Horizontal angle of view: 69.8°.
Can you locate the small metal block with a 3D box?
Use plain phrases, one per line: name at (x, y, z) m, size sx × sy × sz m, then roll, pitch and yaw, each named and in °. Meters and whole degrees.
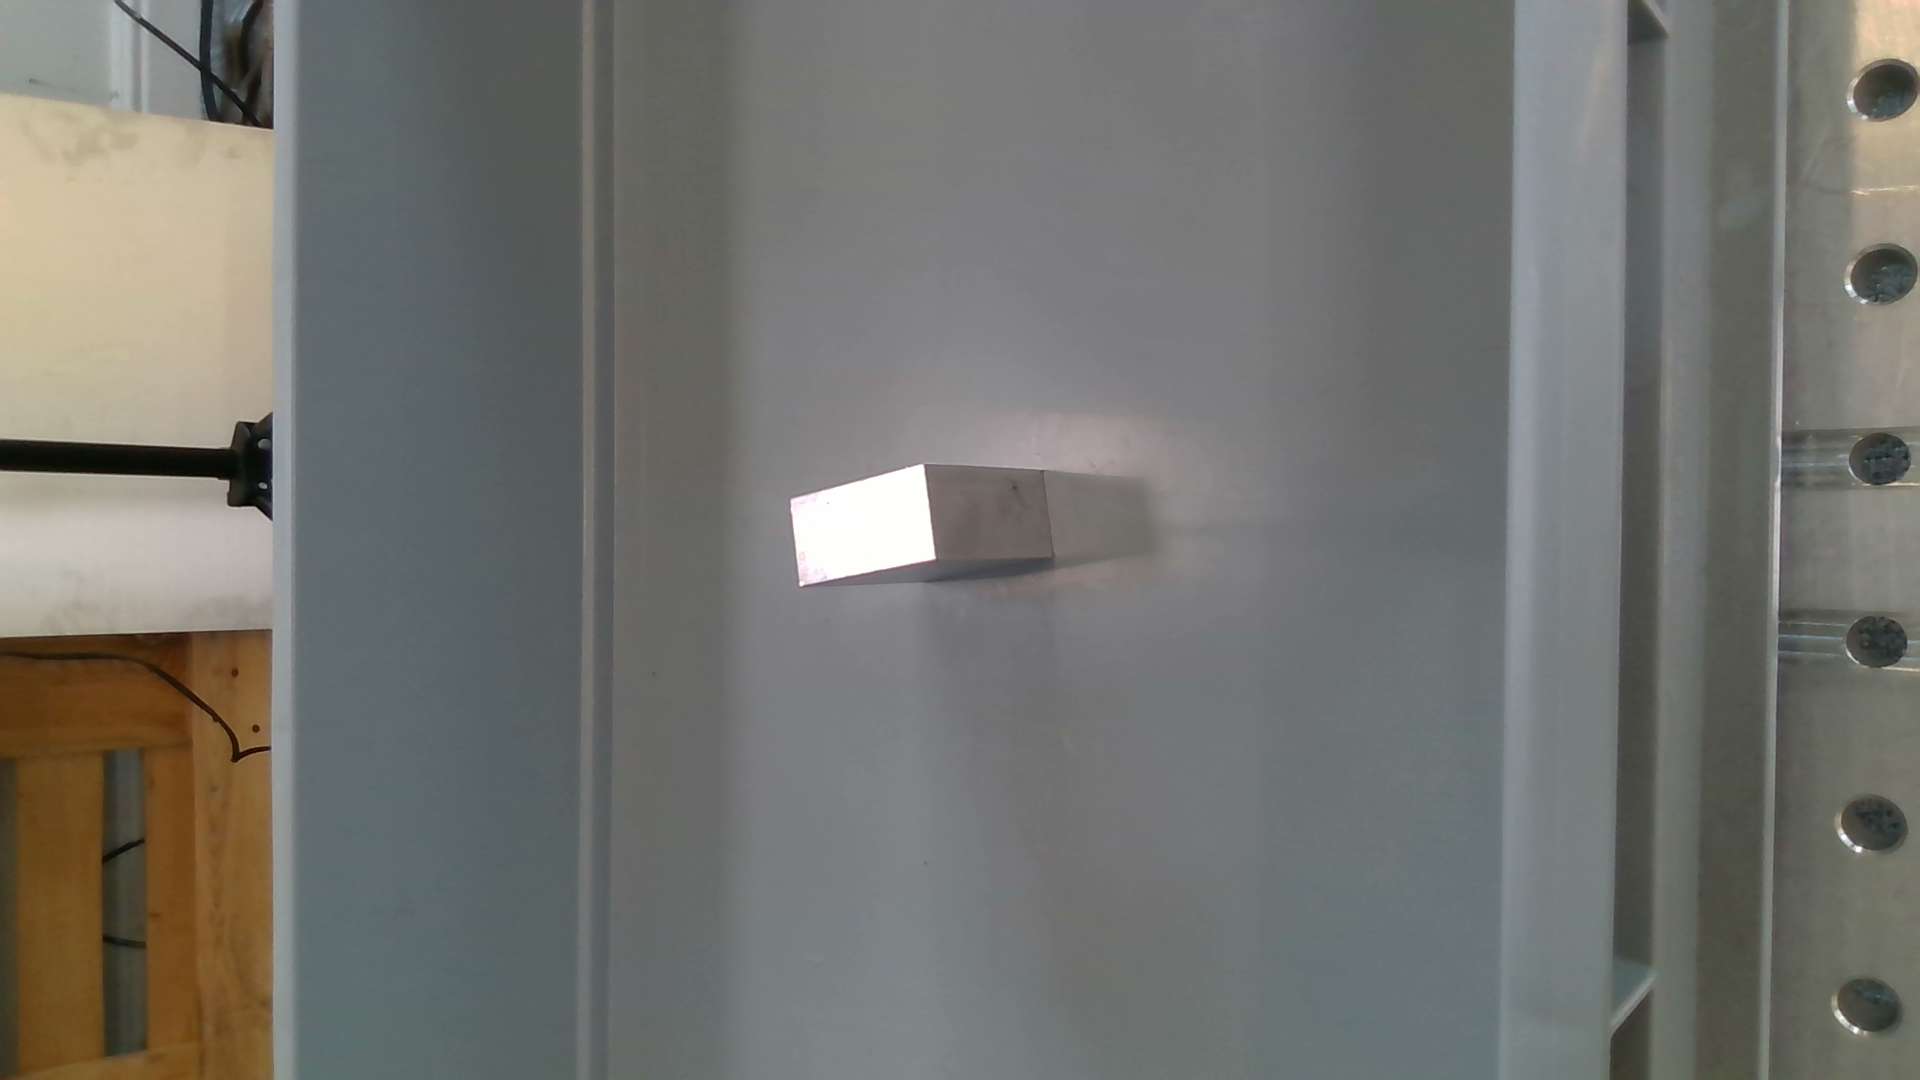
small metal block at (-0.011, -0.003, 0.379) m, size 0.050 × 0.050 × 0.025 m, roll -12°, pitch 83°, yaw 39°
